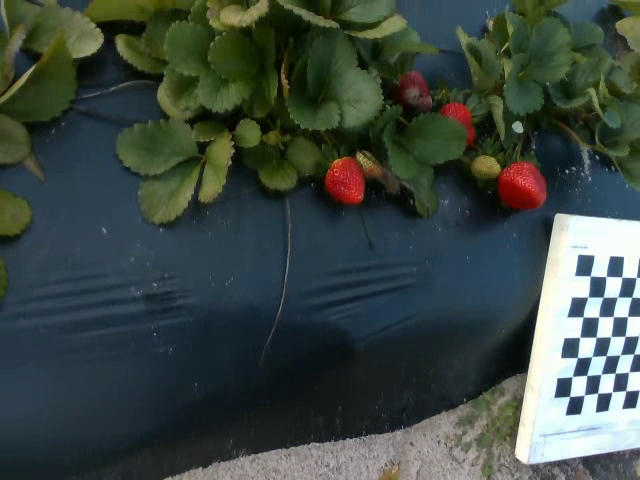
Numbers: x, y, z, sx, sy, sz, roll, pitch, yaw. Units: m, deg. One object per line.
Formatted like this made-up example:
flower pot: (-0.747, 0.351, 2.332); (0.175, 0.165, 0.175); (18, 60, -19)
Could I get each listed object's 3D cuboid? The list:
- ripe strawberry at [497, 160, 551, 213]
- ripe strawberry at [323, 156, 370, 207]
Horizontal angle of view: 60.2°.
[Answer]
ripe strawberry: (0.090, -0.021, 0.237); (0.022, 0.025, 0.030); (-9, 22, 6)
ripe strawberry: (0.011, -0.020, 0.207); (0.018, 0.022, 0.017); (-20, -24, -18)
